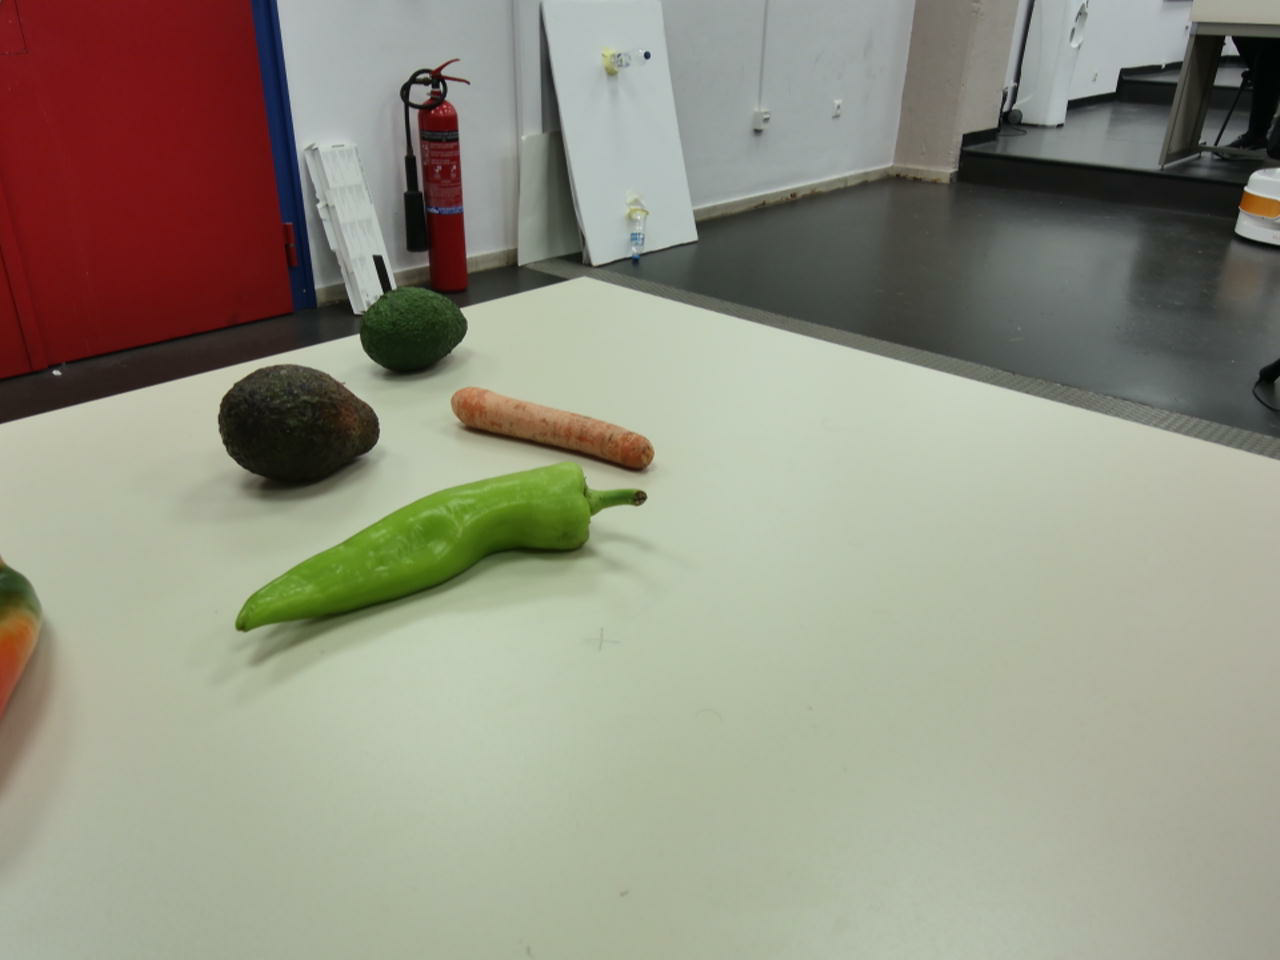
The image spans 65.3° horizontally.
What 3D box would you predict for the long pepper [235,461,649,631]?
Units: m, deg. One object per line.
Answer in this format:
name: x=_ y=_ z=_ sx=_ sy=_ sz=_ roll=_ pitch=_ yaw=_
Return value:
long pepper: x=-0.098 y=0.029 z=0.493 sx=0.204 sy=0.045 sz=0.065 roll=-15 pitch=29 yaw=-30
